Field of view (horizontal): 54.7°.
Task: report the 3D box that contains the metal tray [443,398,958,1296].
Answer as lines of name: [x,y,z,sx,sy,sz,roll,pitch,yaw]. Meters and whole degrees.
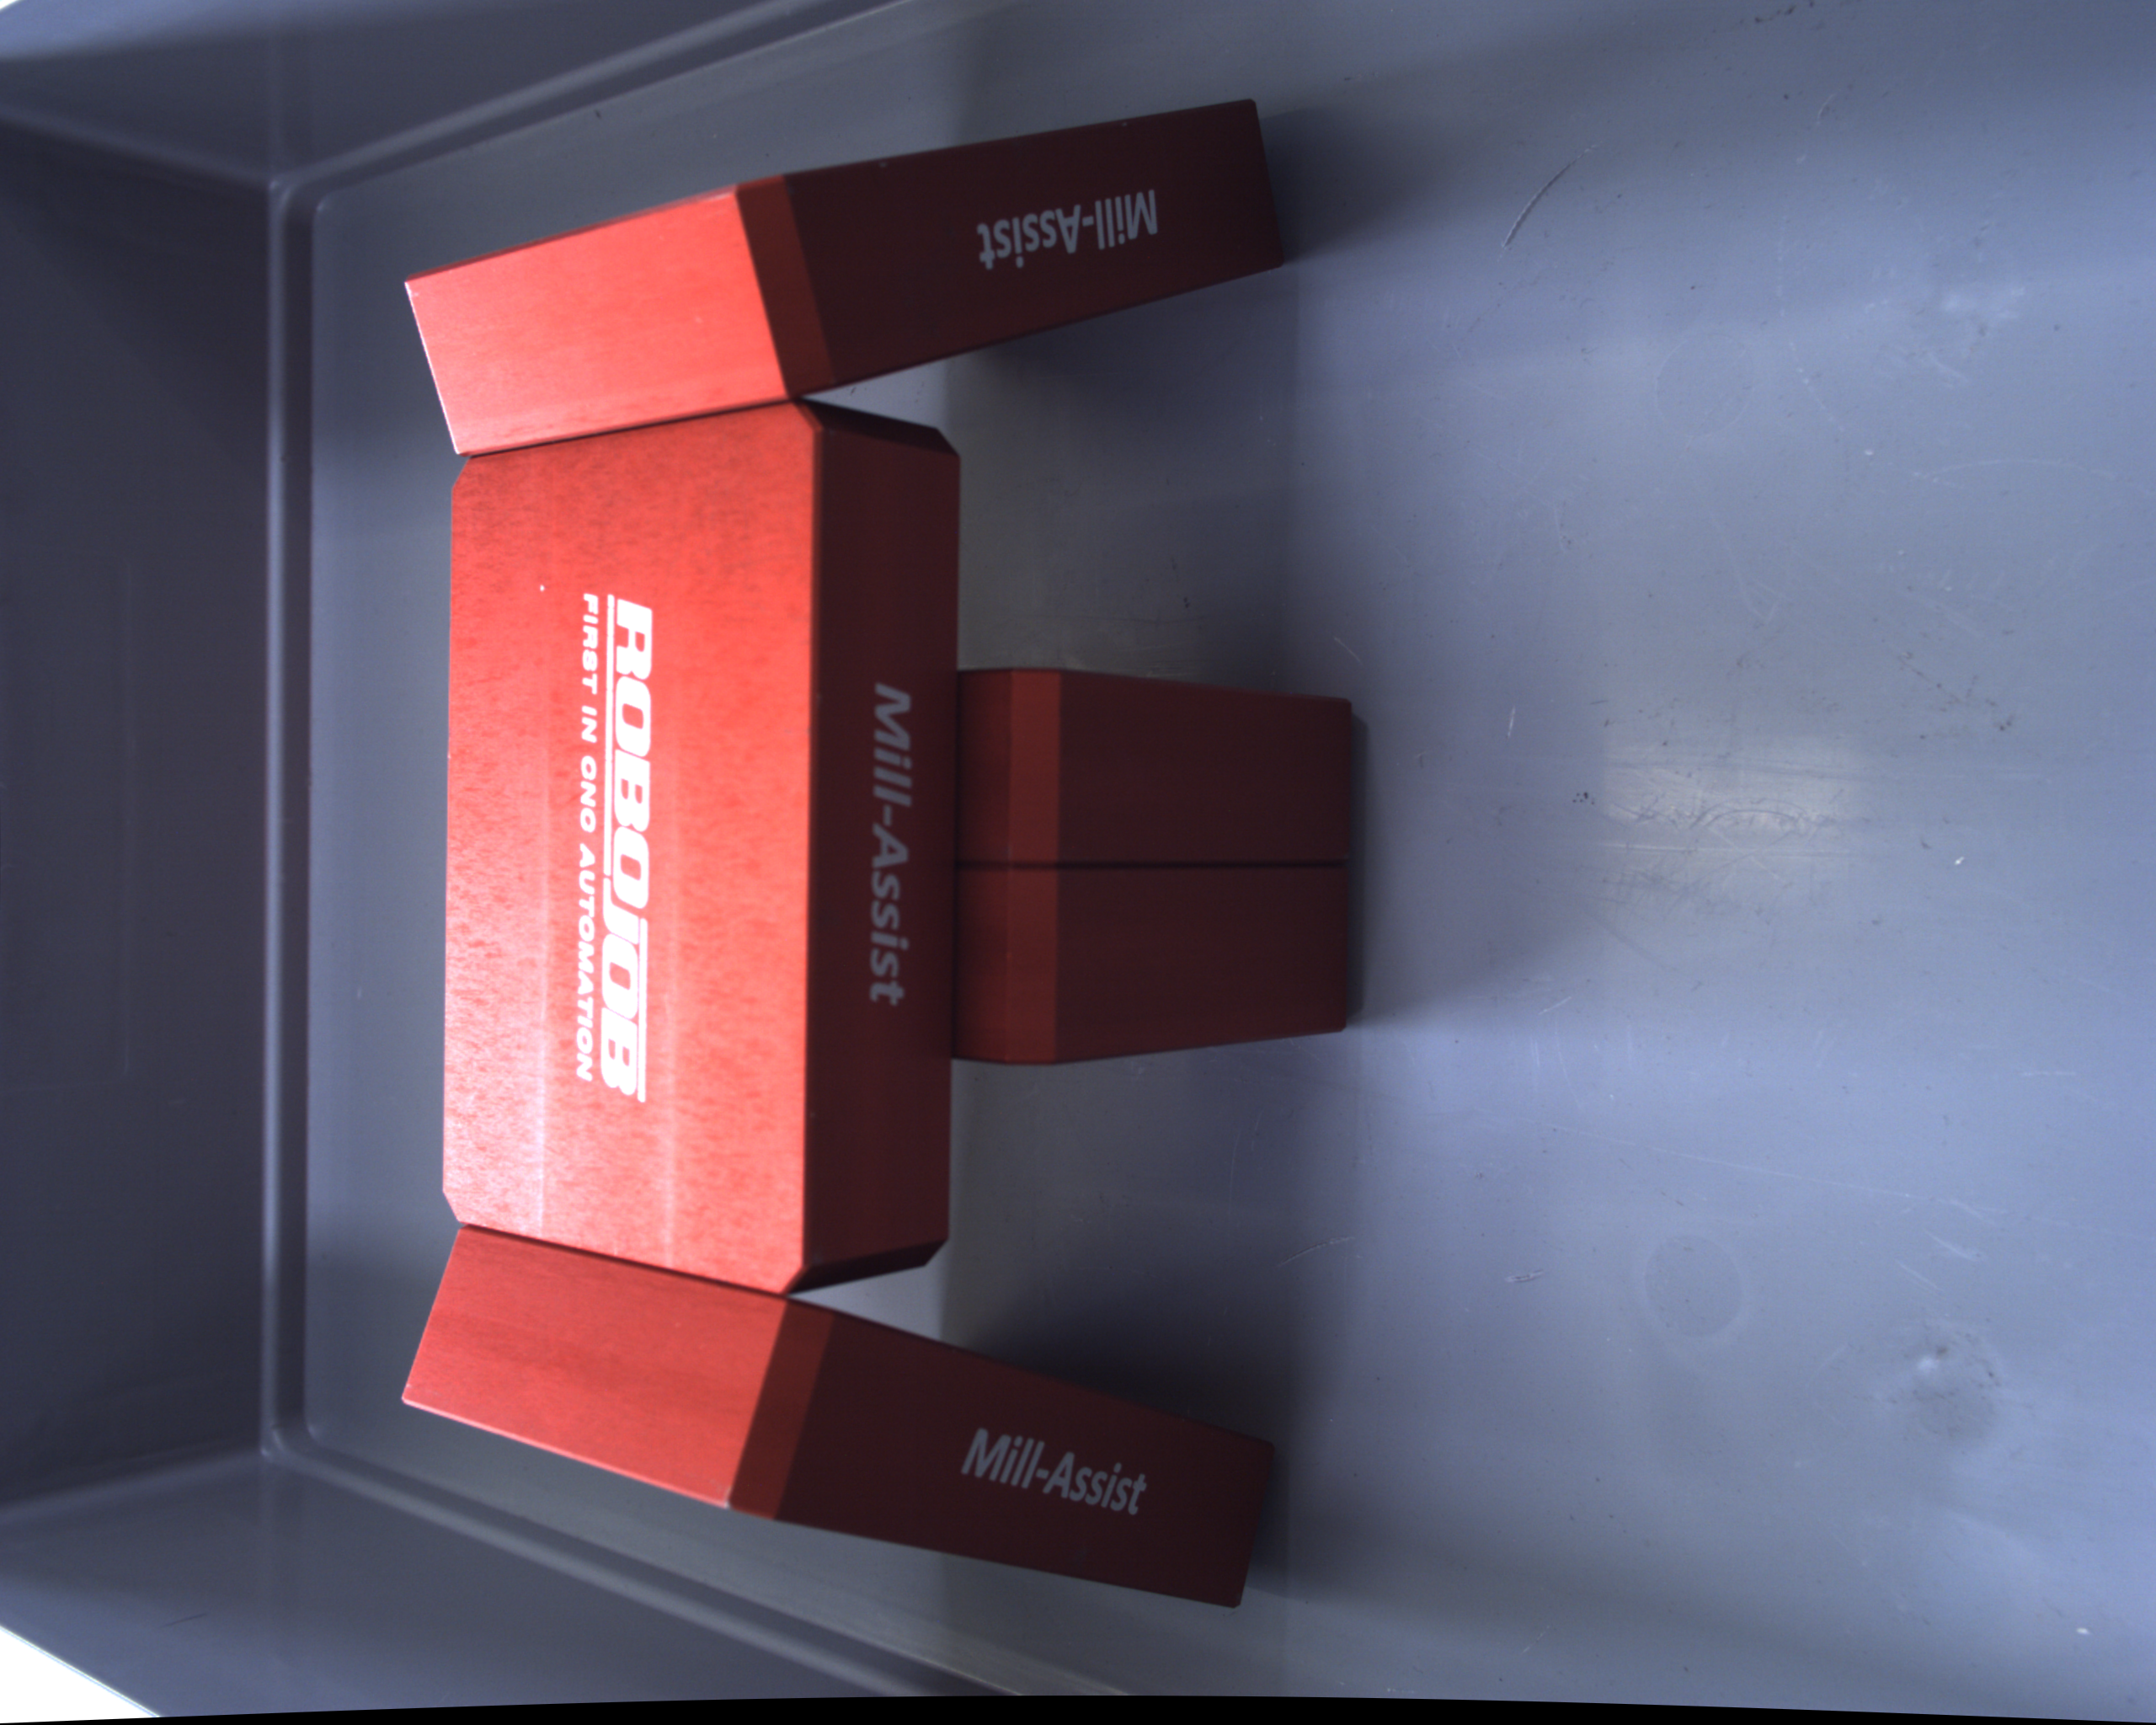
metal tray: [-0.063,-0.003,0.336,0.090,0.030,0.129,1,91,39]

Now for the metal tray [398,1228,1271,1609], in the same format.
metal tray: [-0.038,0.099,0.366,0.090,0.130,0.030,1,69,39]

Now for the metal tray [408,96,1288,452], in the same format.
metal tray: [-0.036,-0.104,0.365,0.090,0.131,0.030,1,111,40]

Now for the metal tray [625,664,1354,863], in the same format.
metal tray: [-0.027,-0.016,0.385,0.130,0.091,0.030,1,91,40]

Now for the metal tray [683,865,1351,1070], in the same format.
metal tray: [-0.027,0.015,0.386,0.130,0.091,0.030,1,91,40]
